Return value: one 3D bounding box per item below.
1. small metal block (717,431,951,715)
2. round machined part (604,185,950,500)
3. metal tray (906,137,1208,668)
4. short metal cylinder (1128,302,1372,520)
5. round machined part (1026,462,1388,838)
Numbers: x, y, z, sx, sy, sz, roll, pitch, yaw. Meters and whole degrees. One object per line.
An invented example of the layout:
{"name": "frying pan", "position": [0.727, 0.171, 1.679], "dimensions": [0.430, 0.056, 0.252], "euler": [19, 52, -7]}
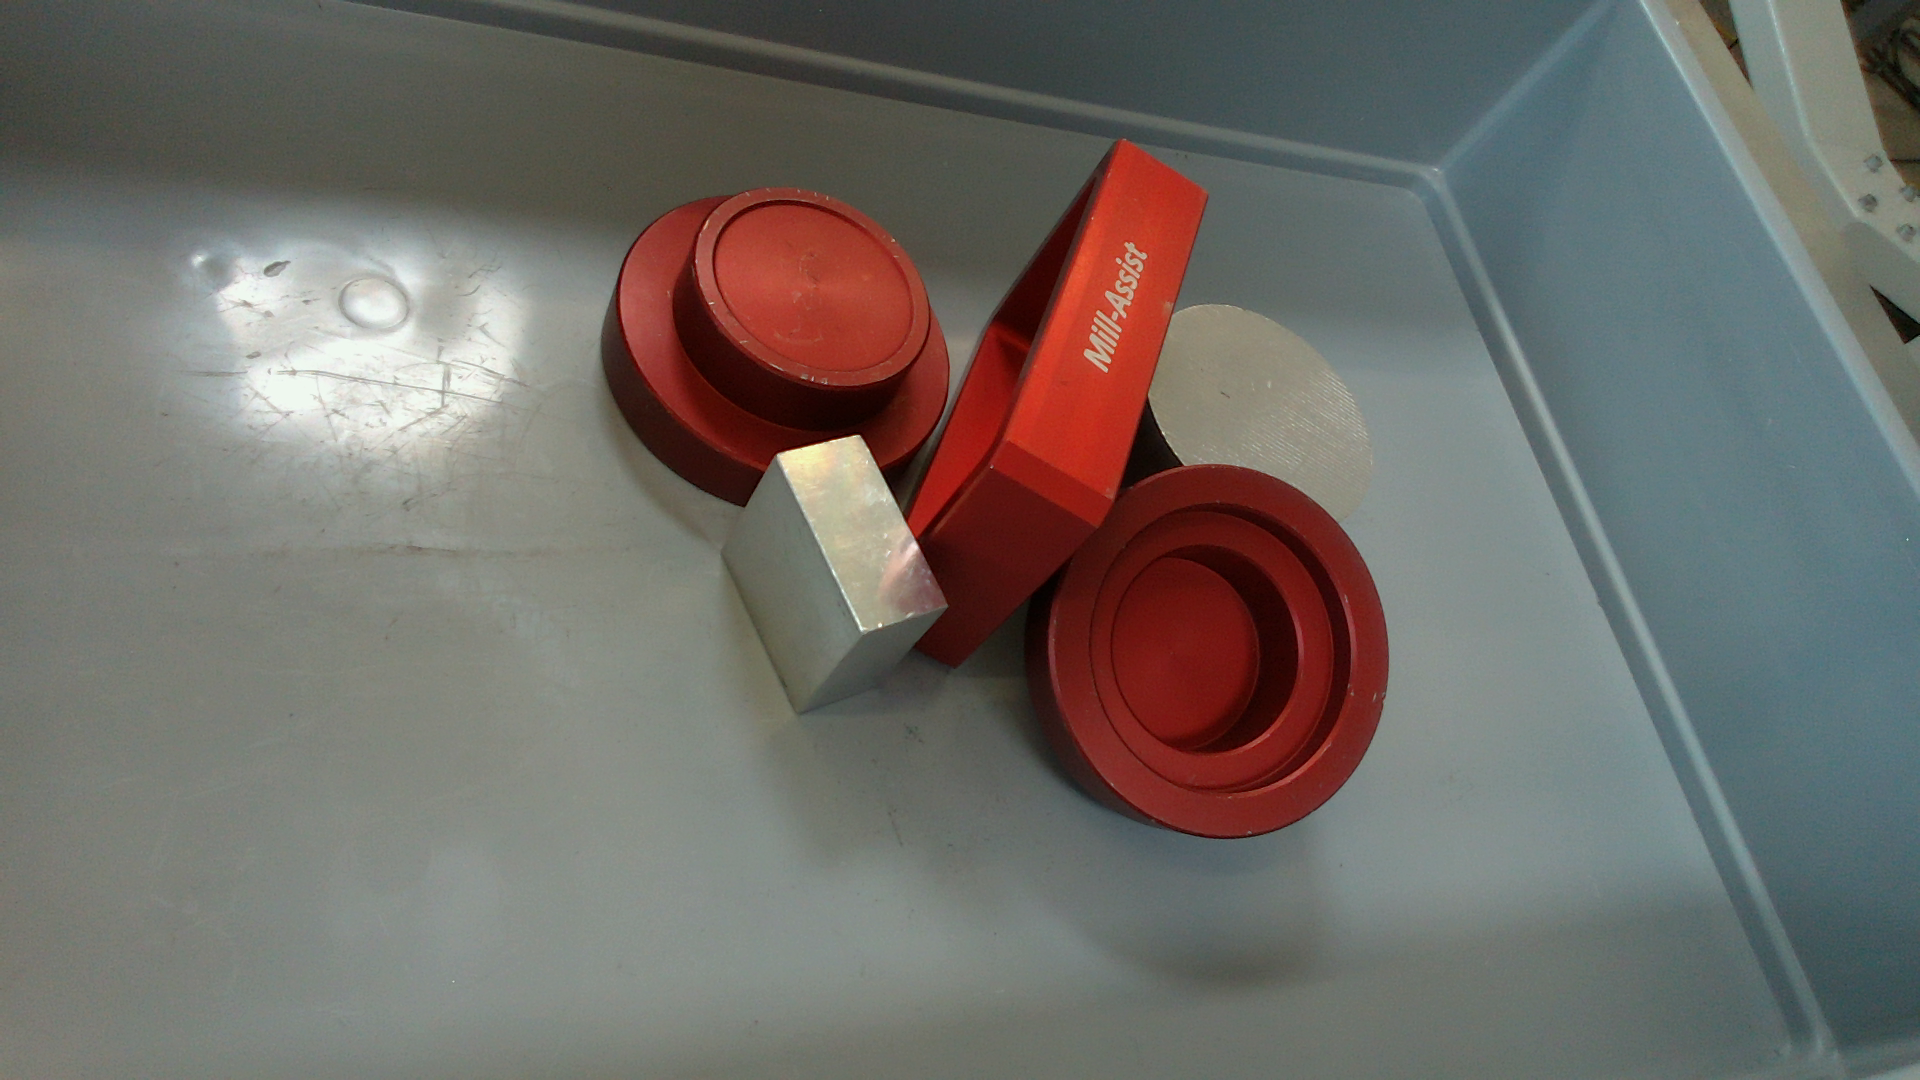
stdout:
{"name": "small metal block", "position": [-0.034, 0.009, 0.348], "dimensions": [0.025, 0.050, 0.050], "euler": [-16, 70, -34]}
{"name": "round machined part", "position": [-0.047, -0.060, 0.387], "dimensions": [0.098, 0.042, 0.098], "euler": [14, 56, -21]}
{"name": "metal tray", "position": [0.021, -0.039, 0.381], "dimensions": [0.030, 0.090, 0.130], "euler": [29, 52, -10]}
{"name": "short metal cylinder", "position": [0.080, -0.027, 0.431], "dimensions": [0.080, 0.050, 0.080], "euler": [14, 56, -21]}
{"name": "round machined part", "position": [0.064, 0.030, 0.378], "dimensions": [0.098, 0.042, 0.098], "euler": [2, 82, -17]}
